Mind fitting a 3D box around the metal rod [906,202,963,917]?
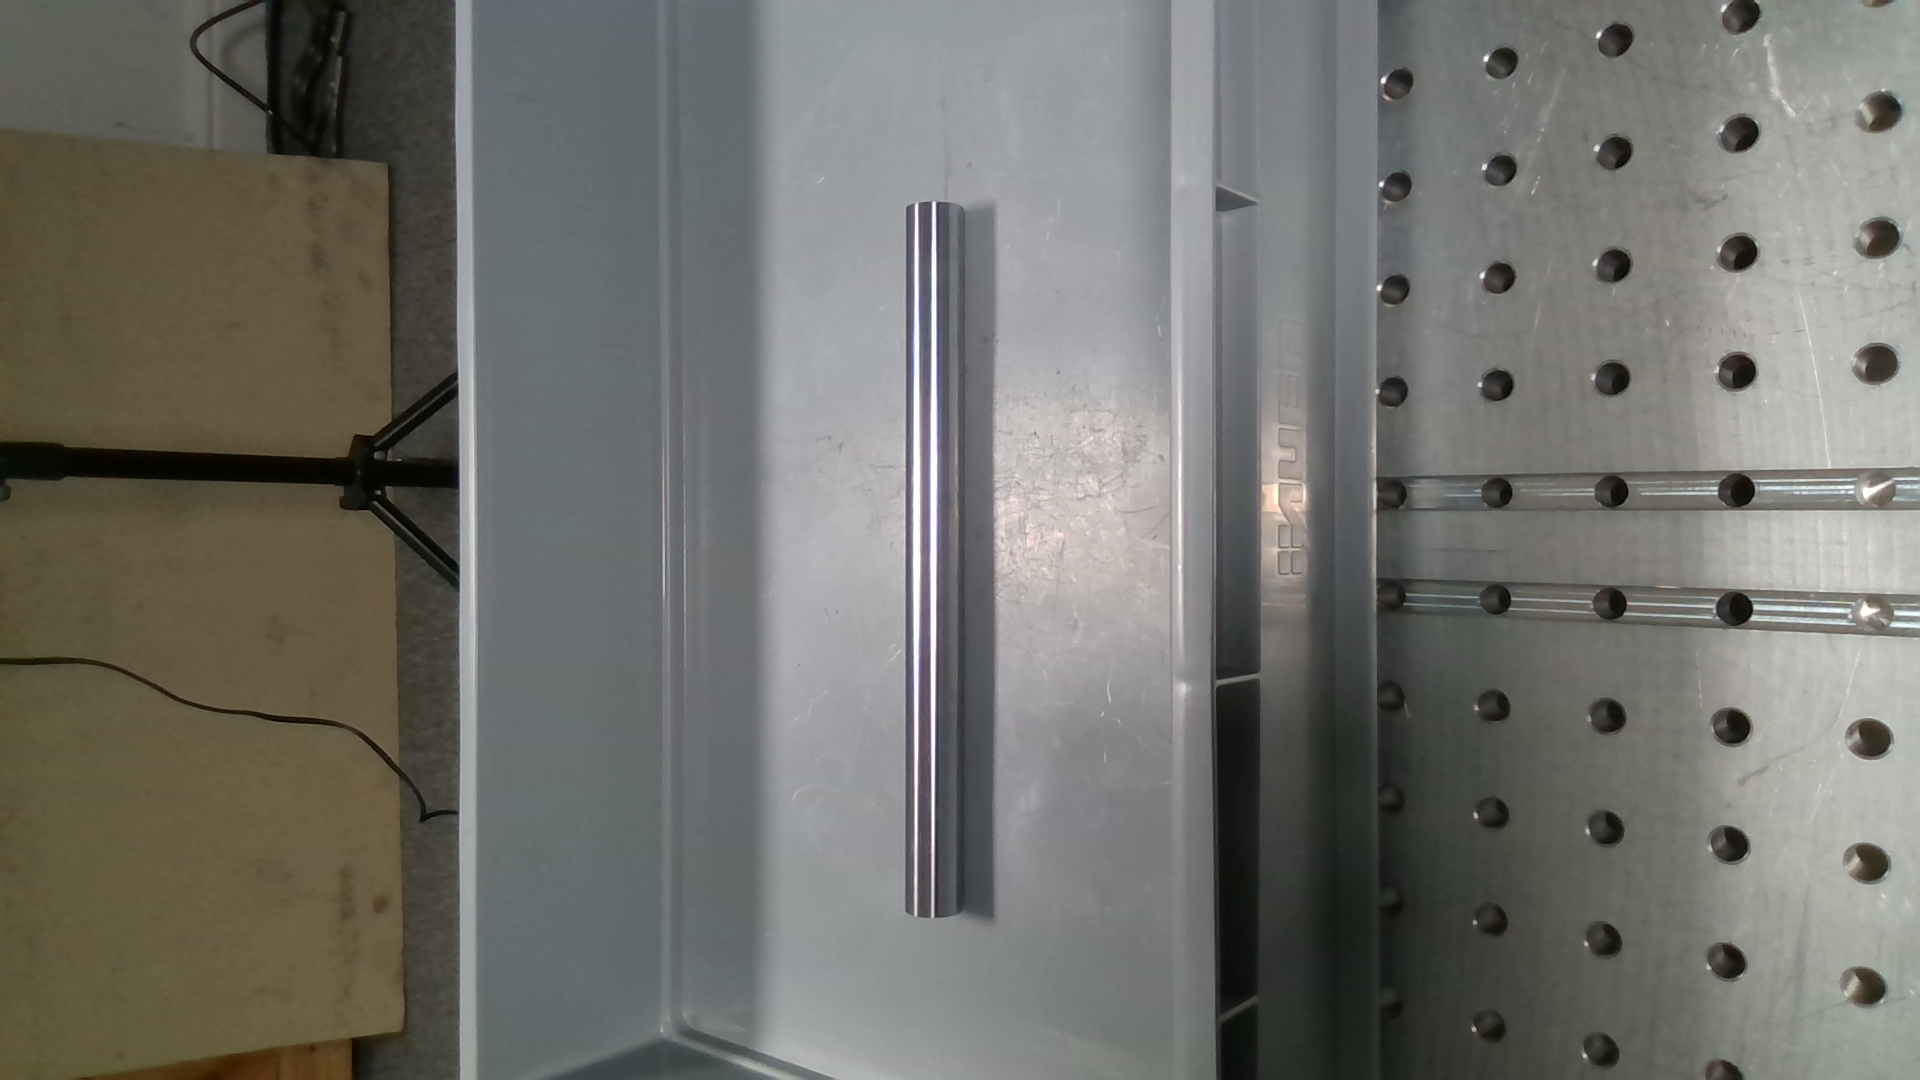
[{"bbox_3d":[-0.011,0.009,0.589,0.025,0.025,0.300,1,91,40],"label":"metal rod"}]
